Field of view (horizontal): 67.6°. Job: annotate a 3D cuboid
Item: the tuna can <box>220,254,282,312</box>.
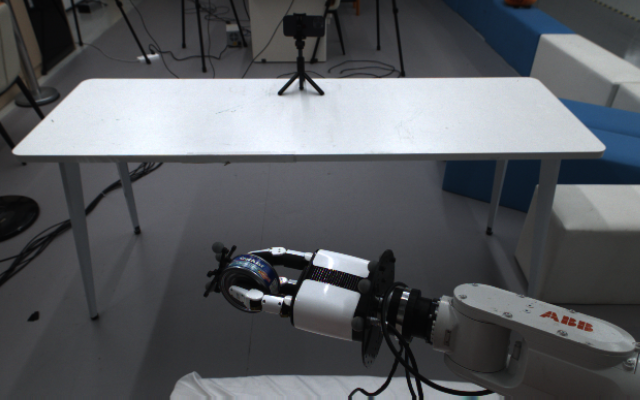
[{"bbox_3d":[-0.101,0.126,0.703,0.085,0.085,0.034,13,30,15],"label":"tuna can"}]
